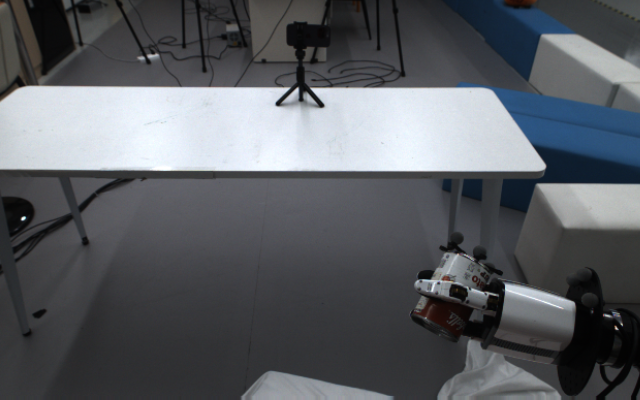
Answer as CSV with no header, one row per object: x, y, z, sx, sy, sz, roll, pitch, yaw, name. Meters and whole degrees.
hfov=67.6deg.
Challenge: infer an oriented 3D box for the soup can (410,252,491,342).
0.175,0.125,0.639,0.067,0.067,0.101,24,72,28,soup can
